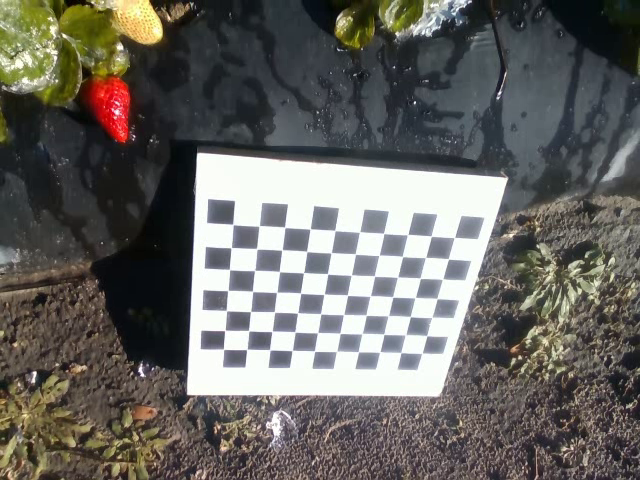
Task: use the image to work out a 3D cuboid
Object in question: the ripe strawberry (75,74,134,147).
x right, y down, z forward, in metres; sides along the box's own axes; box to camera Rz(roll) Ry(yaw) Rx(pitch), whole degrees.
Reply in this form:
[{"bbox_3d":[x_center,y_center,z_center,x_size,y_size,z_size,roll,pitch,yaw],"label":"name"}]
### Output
[{"bbox_3d":[-0.166,-0.099,0.466,0.041,0.052,0.040,-13,22,-4],"label":"ripe strawberry"}]
